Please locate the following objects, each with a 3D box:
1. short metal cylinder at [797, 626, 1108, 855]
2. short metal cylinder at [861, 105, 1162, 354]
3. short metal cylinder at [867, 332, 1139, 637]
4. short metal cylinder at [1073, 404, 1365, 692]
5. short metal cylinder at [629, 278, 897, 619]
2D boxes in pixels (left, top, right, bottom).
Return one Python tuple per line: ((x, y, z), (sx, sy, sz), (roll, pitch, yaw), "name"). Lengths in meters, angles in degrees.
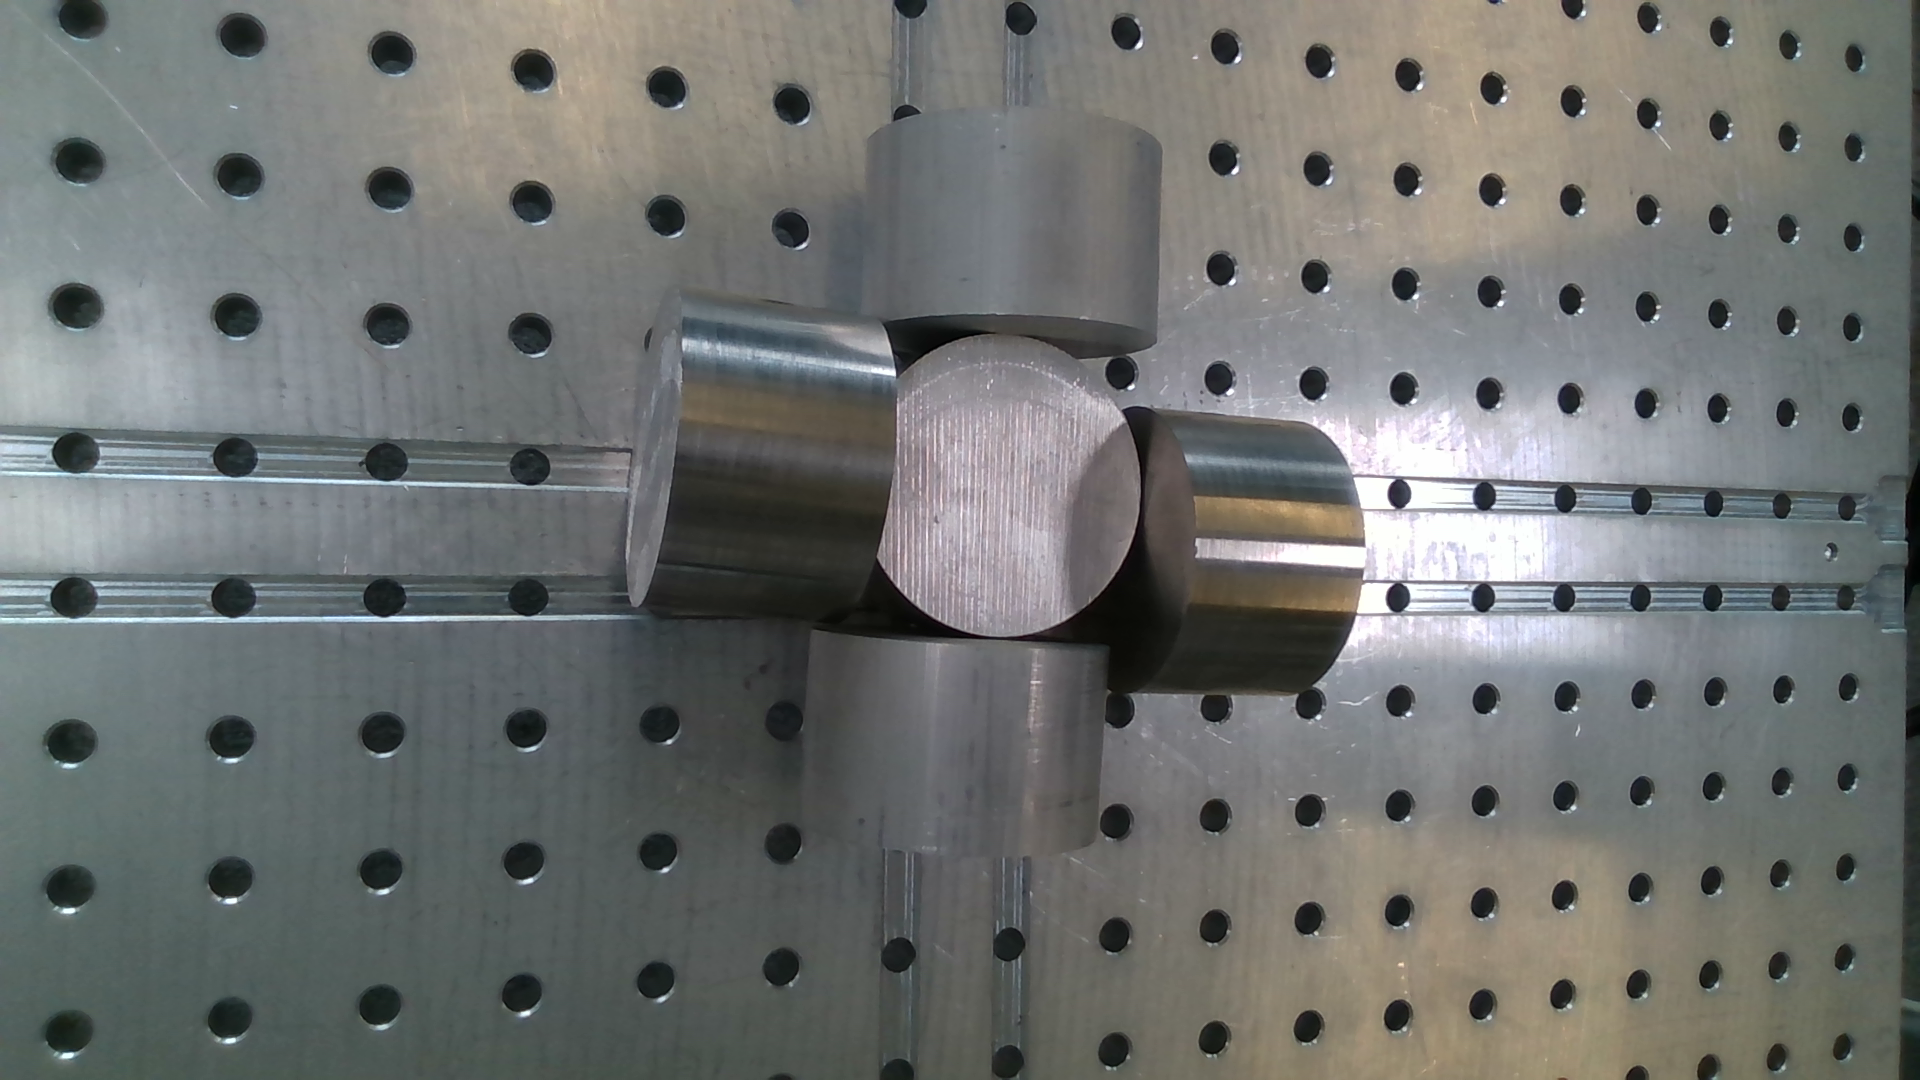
((-0.002, 0.050, 0.367), (0.080, 0.080, 0.050), (4, 89, -20), "short metal cylinder")
((0.014, -0.080, 0.372), (0.080, 0.080, 0.050), (2, 90, -20), "short metal cylinder")
((0.003, -0.015, 0.384), (0.080, 0.050, 0.080), (0, 91, -20), "short metal cylinder")
((0.069, 0.004, 0.392), (0.050, 0.080, 0.080), (3, 89, -20), "short metal cylinder")
((-0.053, -0.021, 0.347), (0.050, 0.080, 0.080), (6, 88, -20), "short metal cylinder")
